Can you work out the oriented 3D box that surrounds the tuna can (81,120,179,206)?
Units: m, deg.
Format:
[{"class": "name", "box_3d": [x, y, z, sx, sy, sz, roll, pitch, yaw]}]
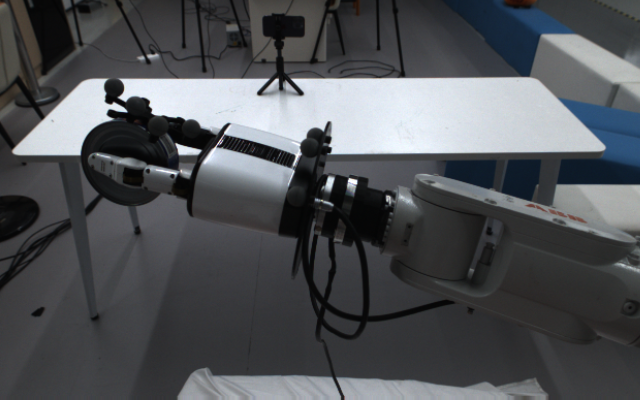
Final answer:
[{"class": "tuna can", "box_3d": [-0.183, -0.036, 0.474, 0.085, 0.085, 0.034, 4, 20, 3]}]
